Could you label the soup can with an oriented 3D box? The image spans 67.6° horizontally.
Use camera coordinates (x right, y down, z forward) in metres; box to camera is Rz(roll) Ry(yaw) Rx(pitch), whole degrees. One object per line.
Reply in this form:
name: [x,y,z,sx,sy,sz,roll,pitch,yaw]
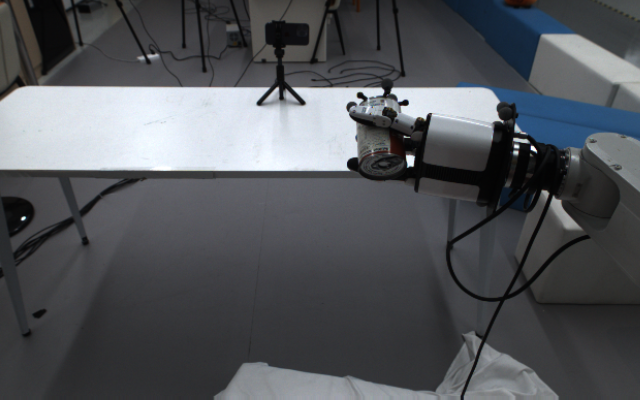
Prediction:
soup can: [0.086,-0.088,0.688,0.067,0.067,0.101,1,62,-2]
